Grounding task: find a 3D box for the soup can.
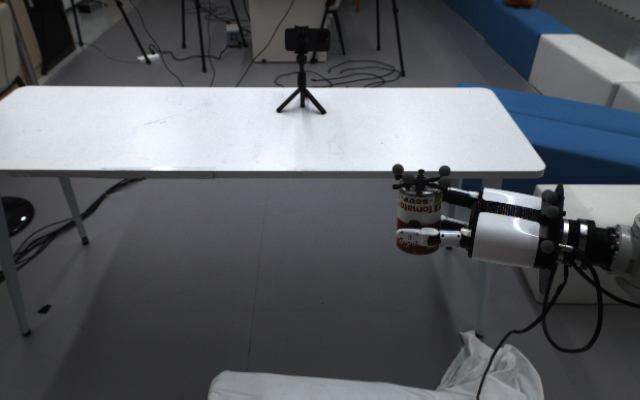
[{"bbox_3d":[0.153,0.021,0.739,0.067,0.101,0.067,-3,27,2],"label":"soup can"}]
